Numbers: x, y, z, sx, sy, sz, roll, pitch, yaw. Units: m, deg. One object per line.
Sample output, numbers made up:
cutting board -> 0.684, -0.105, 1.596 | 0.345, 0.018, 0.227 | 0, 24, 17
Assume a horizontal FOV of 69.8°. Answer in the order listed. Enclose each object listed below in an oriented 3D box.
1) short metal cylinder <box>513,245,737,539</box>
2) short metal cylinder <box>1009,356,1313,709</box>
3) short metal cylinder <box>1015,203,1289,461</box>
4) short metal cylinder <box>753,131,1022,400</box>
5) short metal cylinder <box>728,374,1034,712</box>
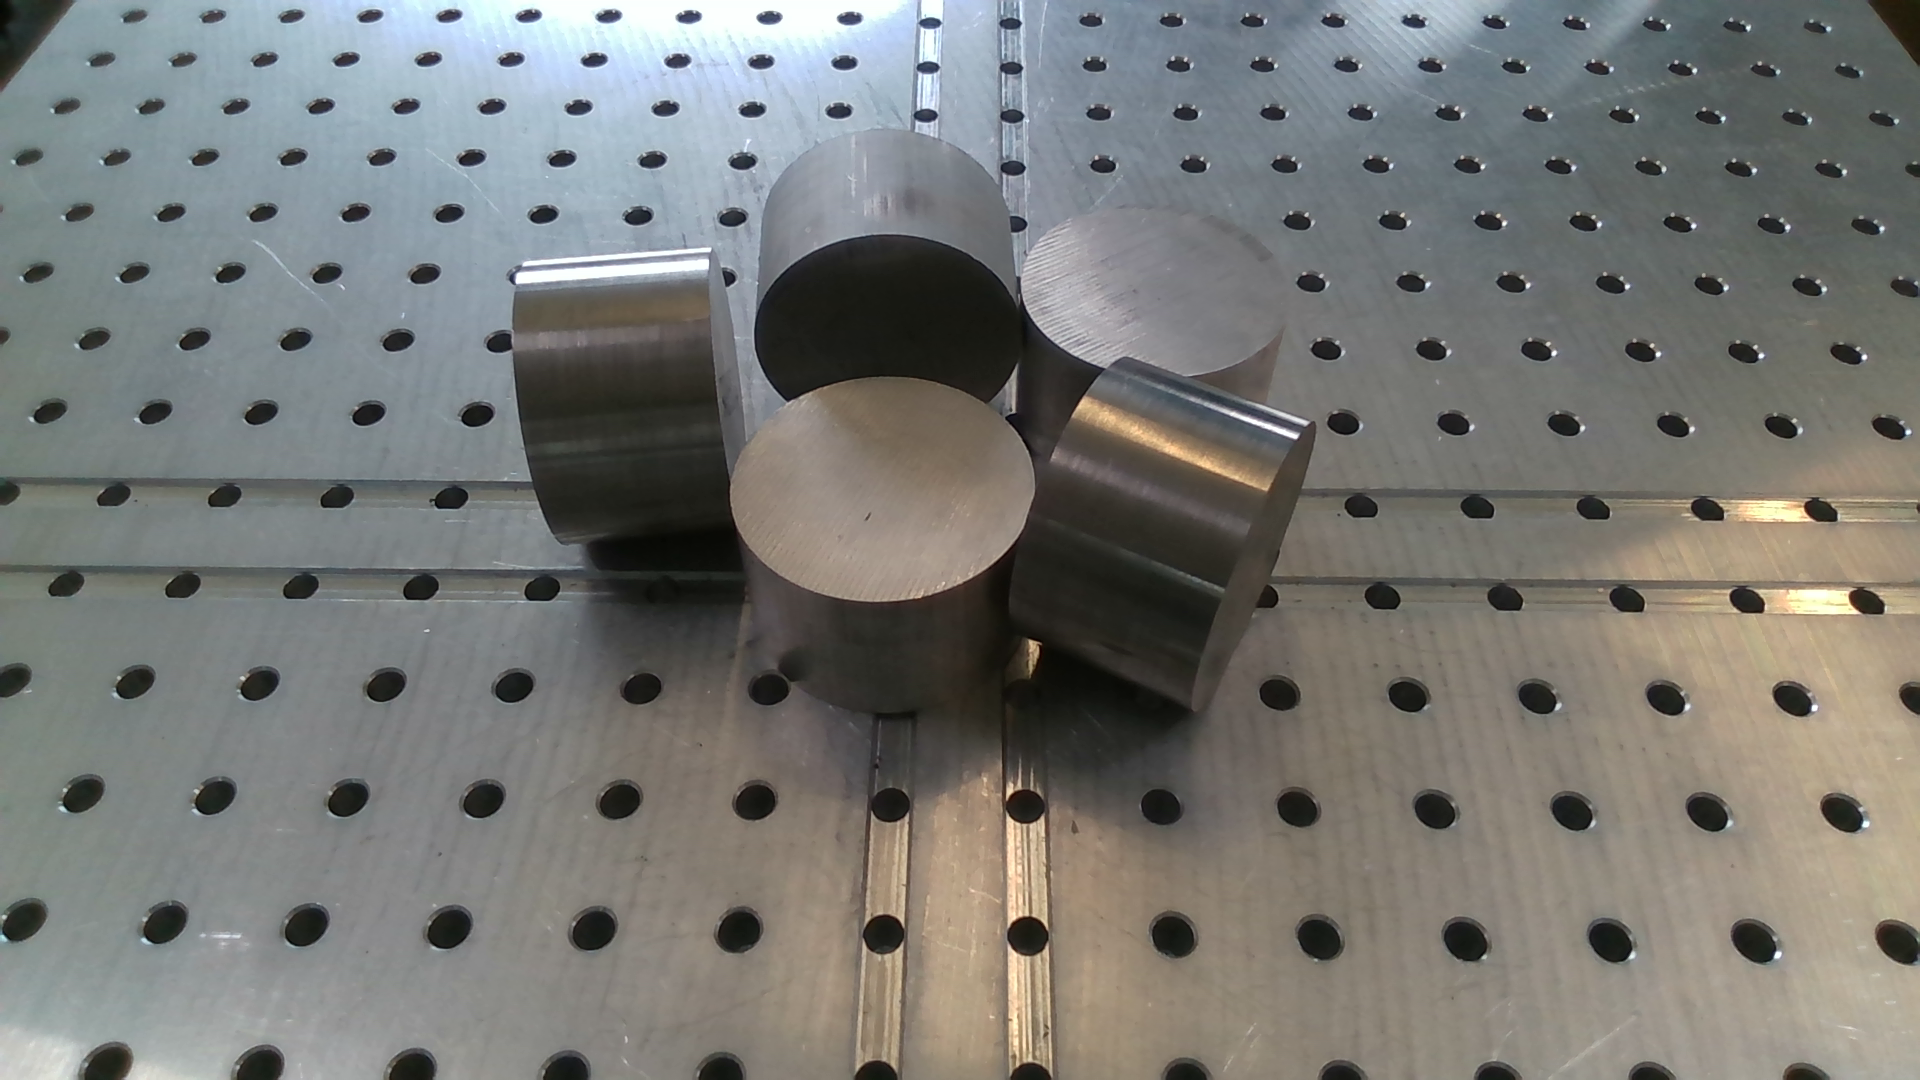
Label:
short metal cylinder -> -0.092, -0.042, 0.395 | 0.050, 0.080, 0.080 | -5, 50, -4
short metal cylinder -> 0.054, -0.002, 0.362 | 0.050, 0.080, 0.080 | 23, 54, 17
short metal cylinder -> 0.058, -0.061, 0.430 | 0.080, 0.050, 0.080 | 0, 49, 0
short metal cylinder -> -0.022, -0.078, 0.426 | 0.080, 0.080, 0.050 | -2, 51, -2
short metal cylinder -> -0.020, 0.000, 0.380 | 0.080, 0.050, 0.080 | 0, 51, 0
